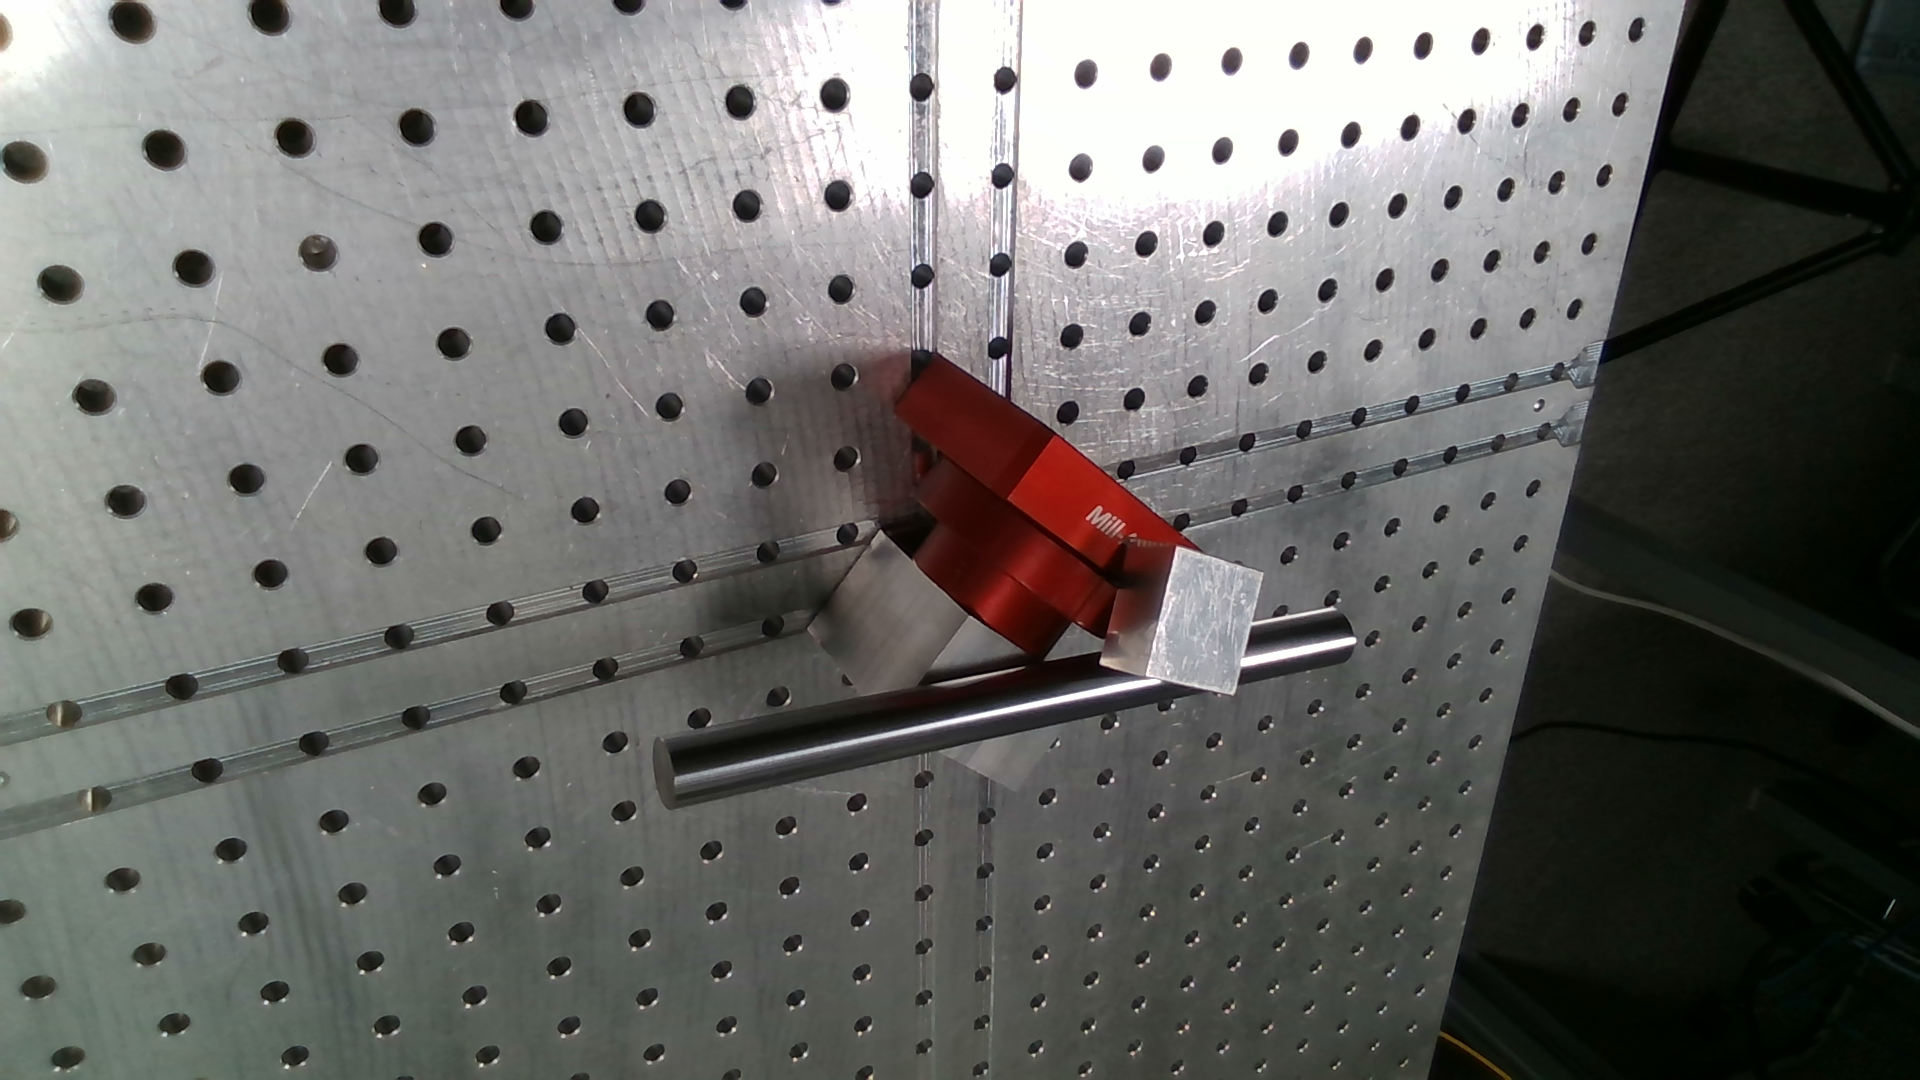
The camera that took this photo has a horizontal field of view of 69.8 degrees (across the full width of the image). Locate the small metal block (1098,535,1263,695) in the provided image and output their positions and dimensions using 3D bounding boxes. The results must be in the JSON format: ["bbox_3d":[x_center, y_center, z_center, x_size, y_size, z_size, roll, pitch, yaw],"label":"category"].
[{"bbox_3d":[0.085,0.029,0.525,0.050,0.025,0.050,15,87,-38],"label":"small metal block"}]

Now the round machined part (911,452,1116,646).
[{"bbox_3d":[0.020,0.007,0.557,0.098,0.098,0.042,33,95,-39],"label":"round machined part"}]

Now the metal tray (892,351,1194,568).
[{"bbox_3d":[0.042,-0.019,0.558,0.130,0.090,0.030,34,94,-39],"label":"metal tray"}]

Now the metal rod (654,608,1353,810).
[{"bbox_3d":[0.032,0.060,0.533,0.300,0.025,0.025,-8,119,-28],"label":"metal rod"}]

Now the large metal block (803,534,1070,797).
[{"bbox_3d":[-0.006,0.051,0.569,0.080,0.080,0.050,34,95,-39],"label":"large metal block"}]
